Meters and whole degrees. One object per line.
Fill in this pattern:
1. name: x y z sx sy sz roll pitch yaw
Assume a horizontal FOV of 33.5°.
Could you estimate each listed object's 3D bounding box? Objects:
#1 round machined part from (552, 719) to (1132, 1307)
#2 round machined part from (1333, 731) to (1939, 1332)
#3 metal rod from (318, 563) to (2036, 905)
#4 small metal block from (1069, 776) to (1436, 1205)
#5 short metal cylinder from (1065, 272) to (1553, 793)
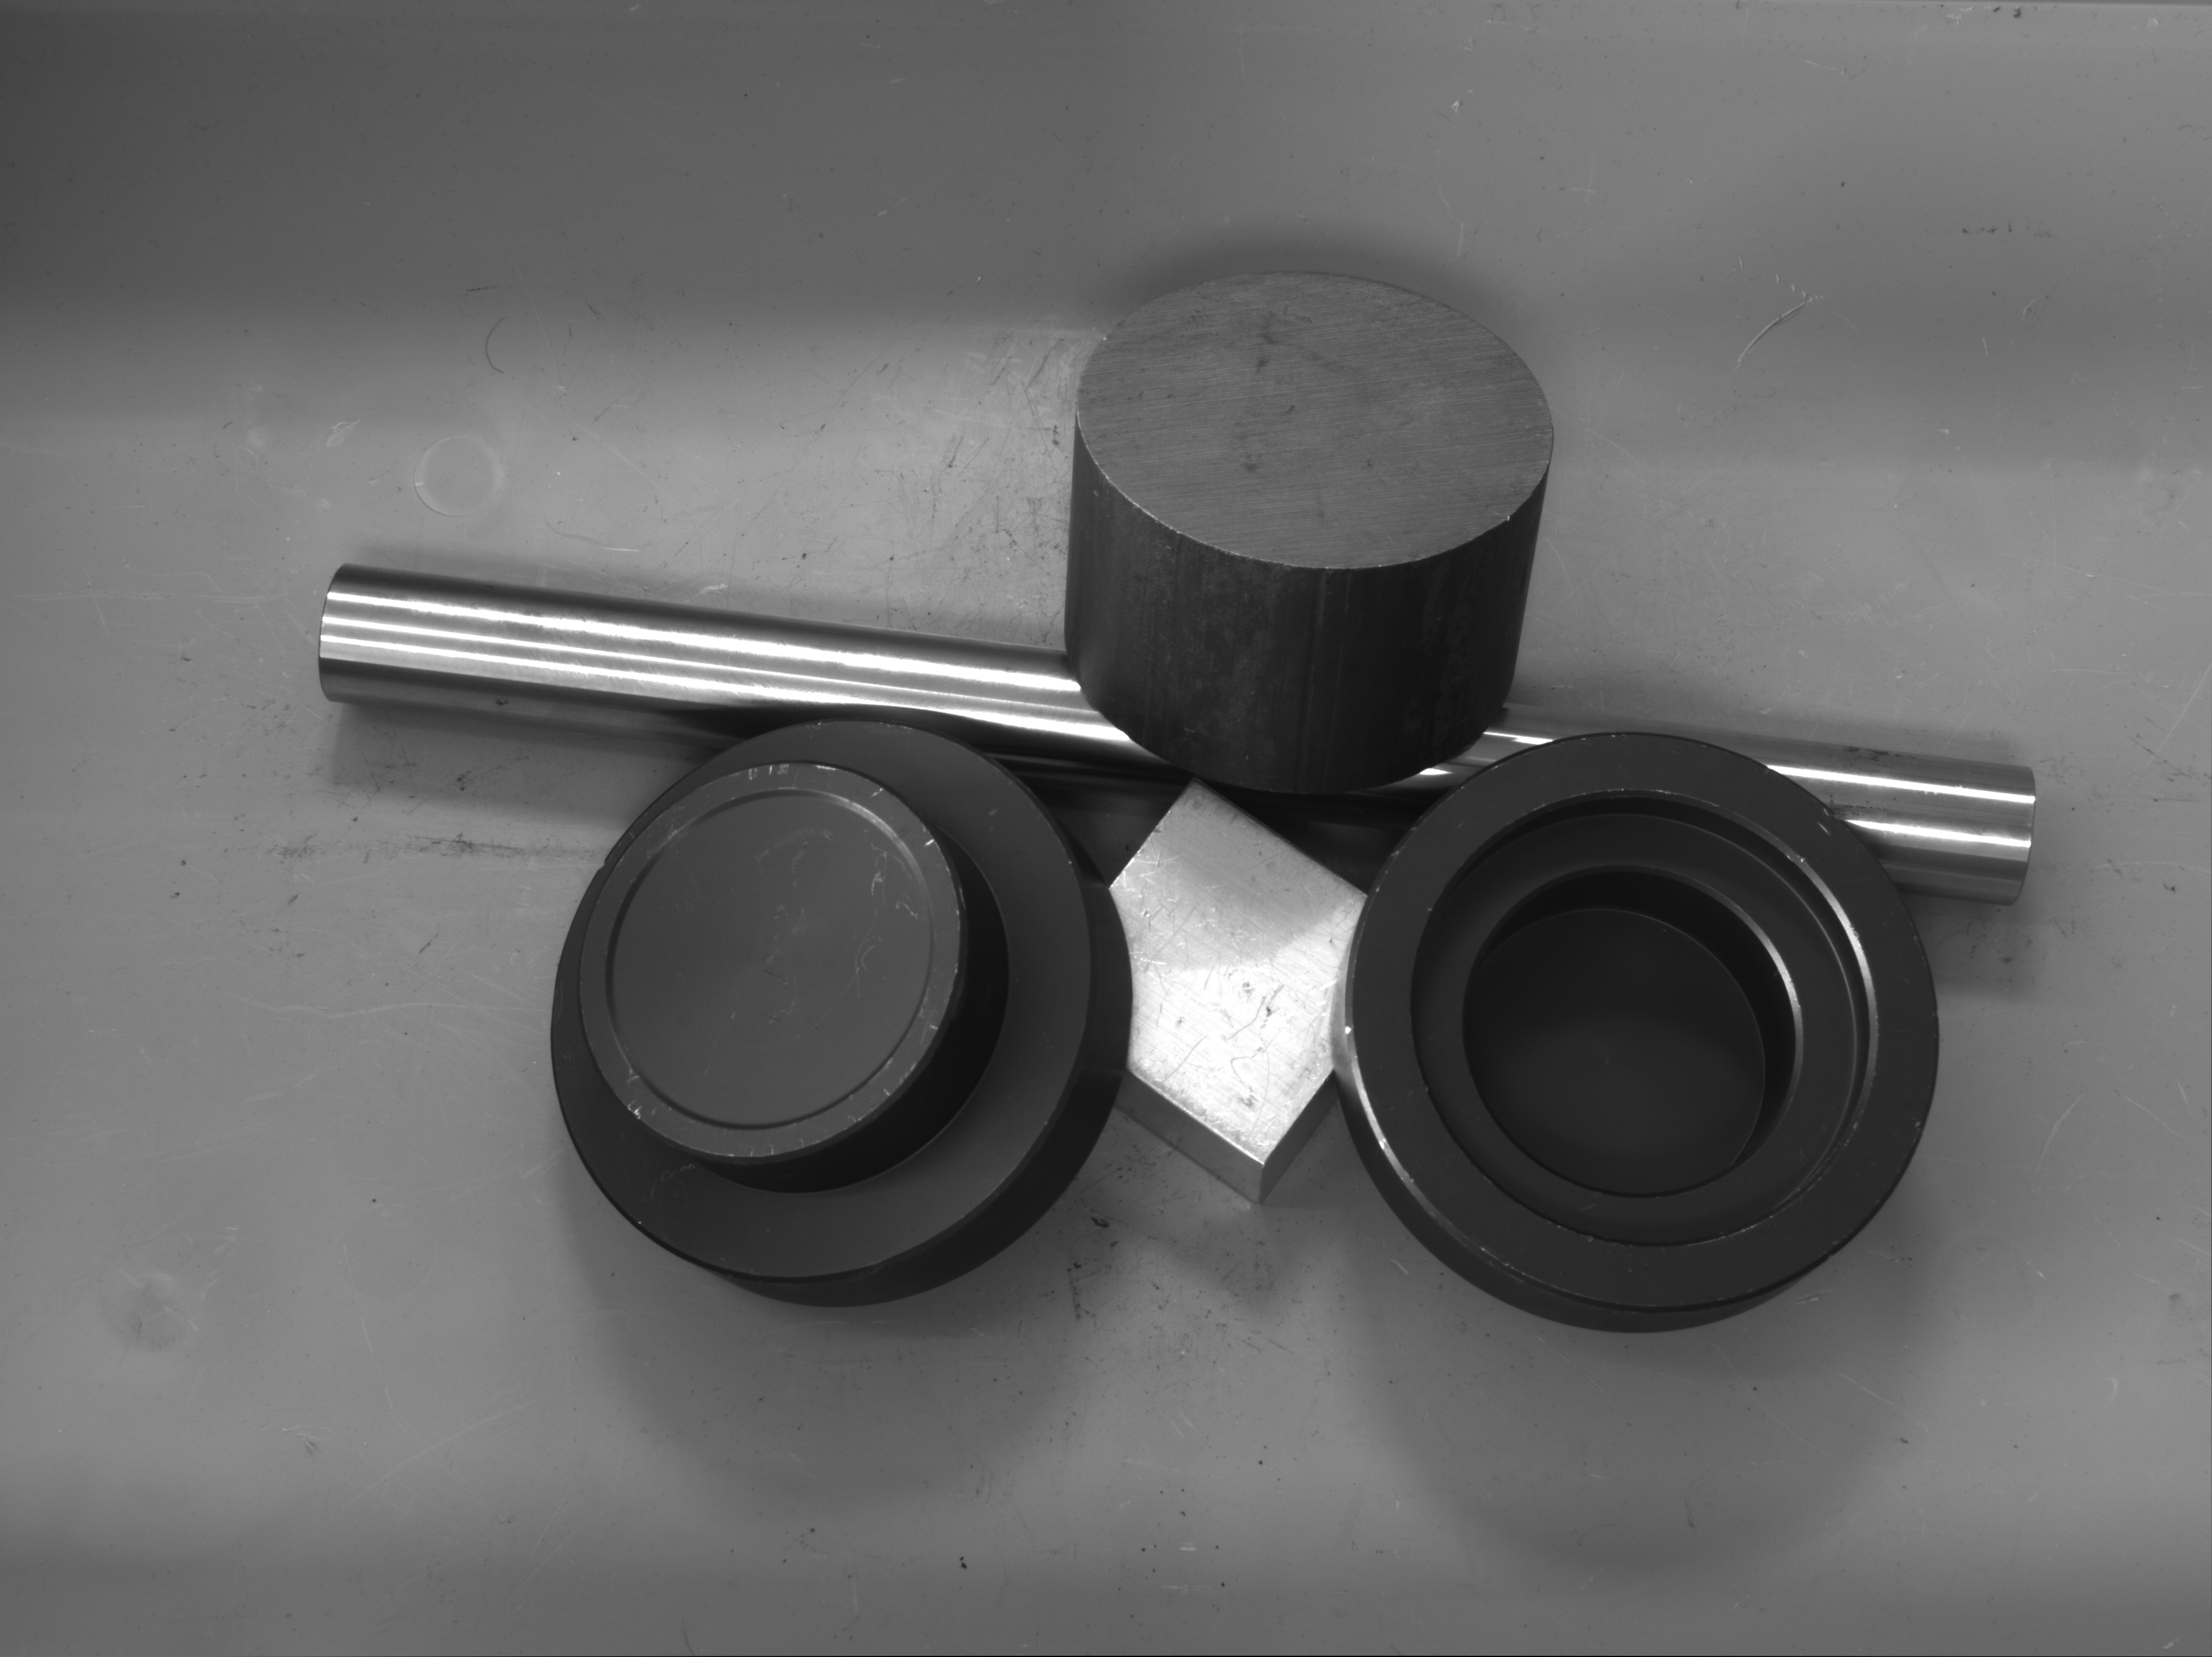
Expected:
1. round machined part: -0.048 0.027 0.611 0.098 0.042 0.098 -6 70 17
2. round machined part: 0.087 0.036 0.619 0.098 0.042 0.098 1 72 -3
3. metal rod: 0.011 -0.017 0.650 0.300 0.025 0.025 7 70 3
4. small metal block: 0.021 0.028 0.634 0.050 0.025 0.050 35 74 12
5. short metal cylinder: 0.034 -0.052 0.634 0.080 0.050 0.080 2 44 -2
